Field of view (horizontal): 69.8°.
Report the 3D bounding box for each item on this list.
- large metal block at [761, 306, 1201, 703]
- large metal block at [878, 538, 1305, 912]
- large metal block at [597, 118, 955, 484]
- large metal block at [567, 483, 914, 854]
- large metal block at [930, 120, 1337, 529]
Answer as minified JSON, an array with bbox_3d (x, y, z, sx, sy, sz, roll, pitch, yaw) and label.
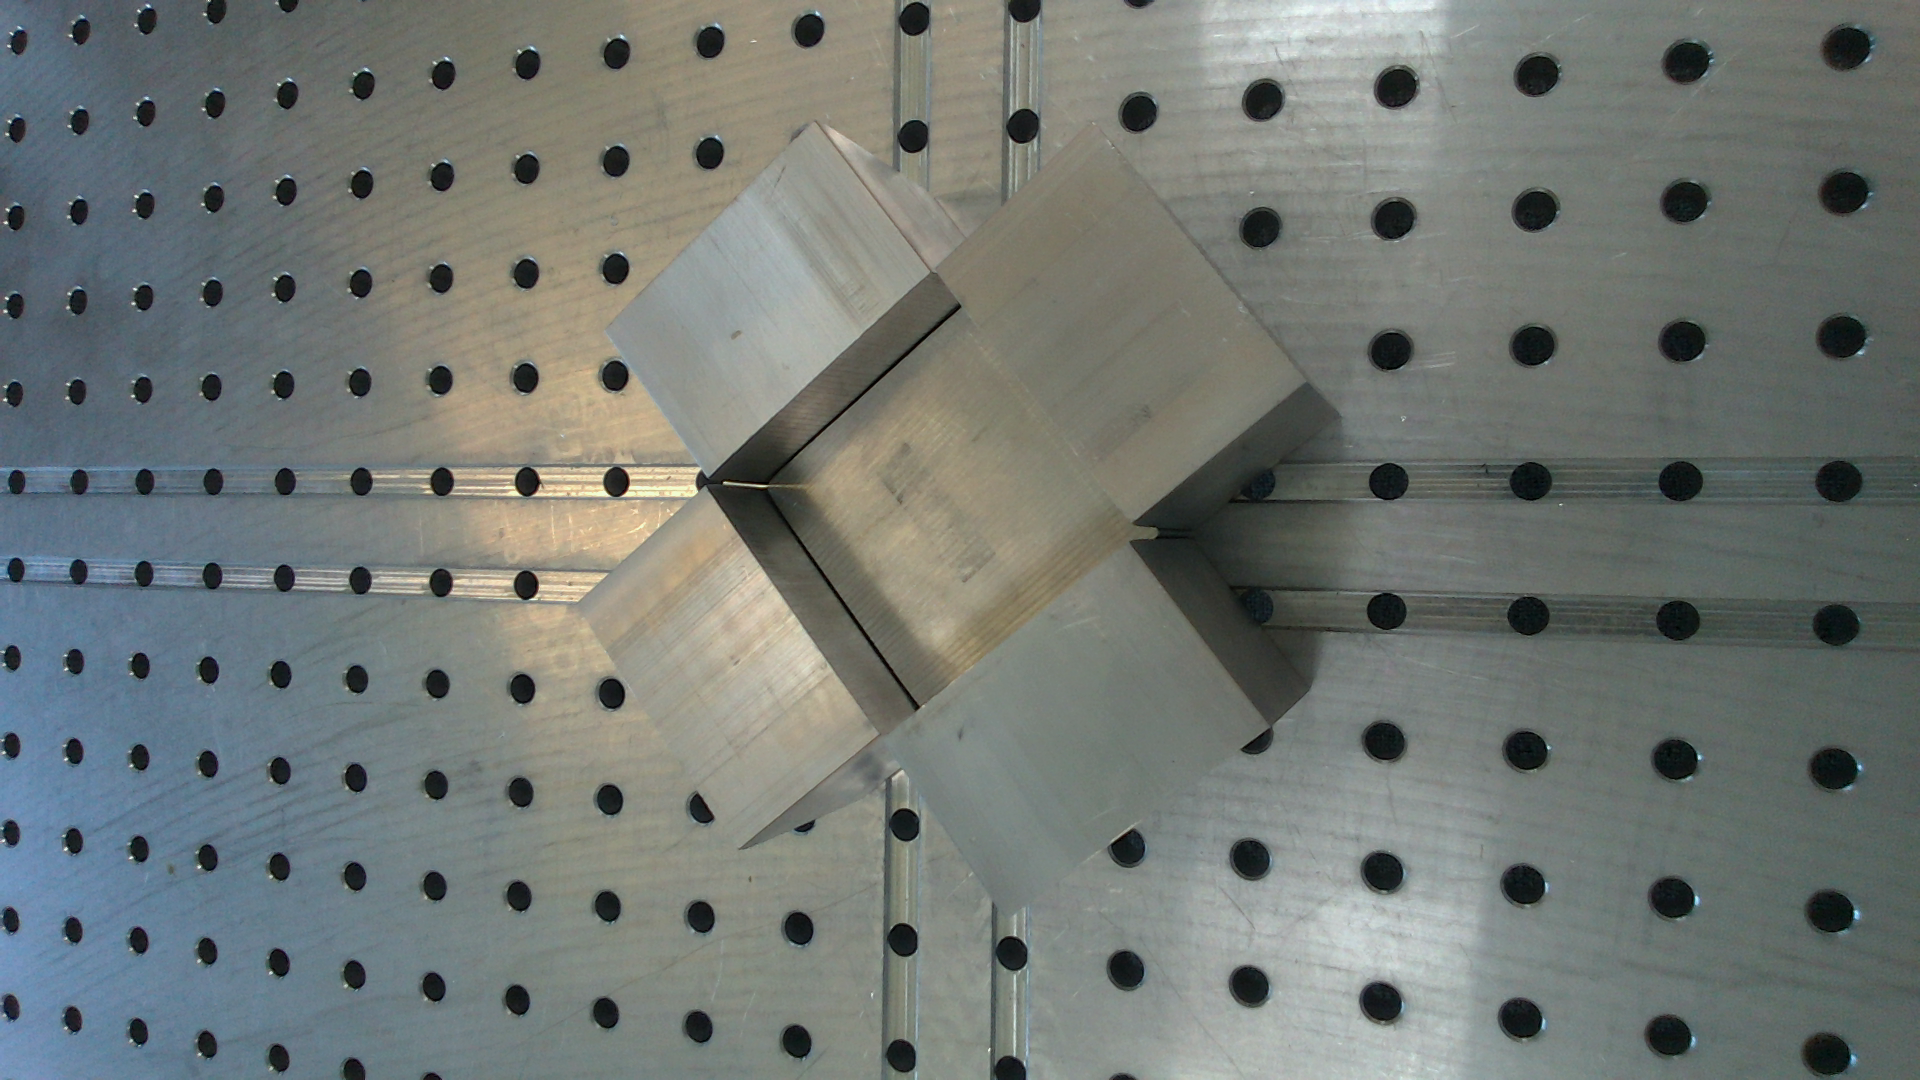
[{"bbox_3d":[0.006,-0.008,0.382,0.080,0.050,0.080,-41,76,18],"label":"large metal block"},{"bbox_3d":[0.038,0.044,0.357,0.080,0.080,0.050,-39,78,16],"label":"large metal block"},{"bbox_3d":[-0.037,-0.060,0.383,0.080,0.080,0.050,-40,77,16],"label":"large metal block"},{"bbox_3d":[-0.048,0.032,0.386,0.050,0.080,0.080,-40,78,16],"label":"large metal block"},{"bbox_3d":[0.048,-0.050,0.352,0.050,0.080,0.080,-40,78,15],"label":"large metal block"}]
